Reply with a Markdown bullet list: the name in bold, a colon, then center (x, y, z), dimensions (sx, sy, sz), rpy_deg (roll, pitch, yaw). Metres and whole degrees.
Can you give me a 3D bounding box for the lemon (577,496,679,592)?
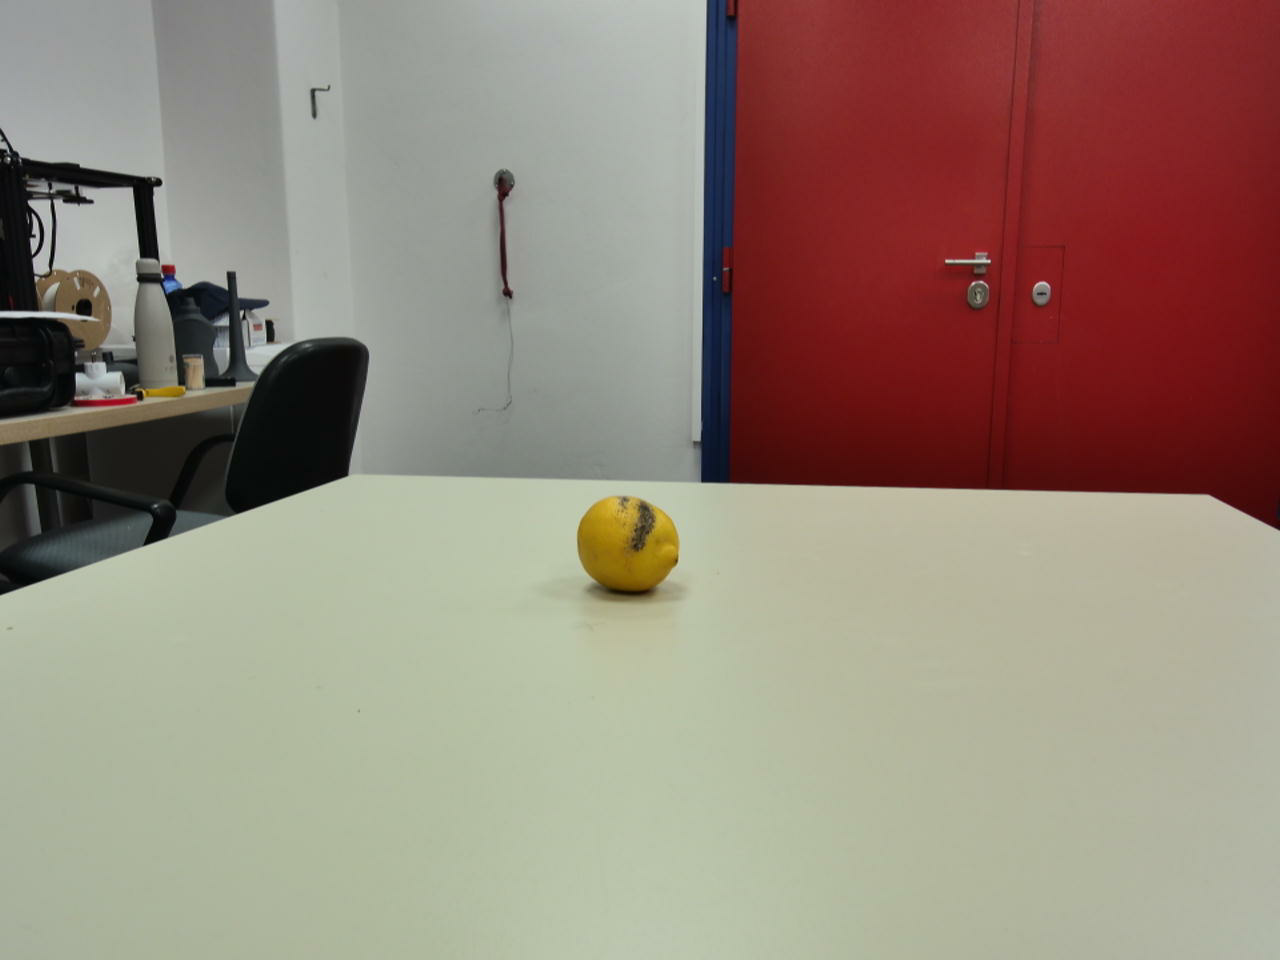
- **lemon**: center (-0.007, 0.038, 0.597), dimensions (0.061, 0.056, 0.058), rpy_deg (2, 8, 3)
